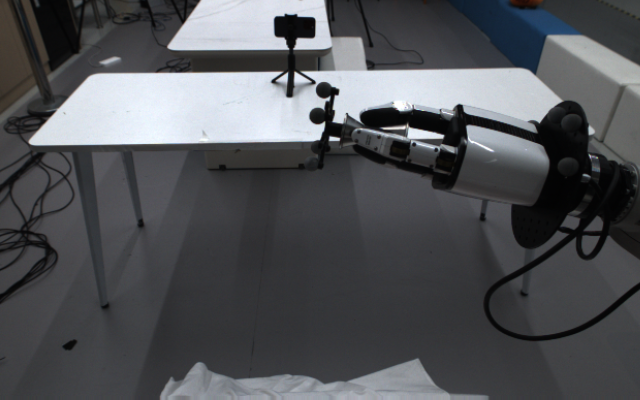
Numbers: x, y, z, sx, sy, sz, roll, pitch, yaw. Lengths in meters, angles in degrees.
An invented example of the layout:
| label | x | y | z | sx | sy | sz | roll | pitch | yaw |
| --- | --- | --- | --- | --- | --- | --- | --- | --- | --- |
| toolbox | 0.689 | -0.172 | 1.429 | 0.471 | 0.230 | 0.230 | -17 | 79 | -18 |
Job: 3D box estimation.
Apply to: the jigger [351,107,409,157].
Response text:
| label | x | y | z | sx | sy | sz | roll | pitch | yaw |
| --- | --- | --- | --- | --- | --- | --- | --- | --- | --- |
| jigger | 0.065 | -0.071 | 0.526 | 0.071 | 0.043 | 0.043 | 10 | 35 | 3 |
